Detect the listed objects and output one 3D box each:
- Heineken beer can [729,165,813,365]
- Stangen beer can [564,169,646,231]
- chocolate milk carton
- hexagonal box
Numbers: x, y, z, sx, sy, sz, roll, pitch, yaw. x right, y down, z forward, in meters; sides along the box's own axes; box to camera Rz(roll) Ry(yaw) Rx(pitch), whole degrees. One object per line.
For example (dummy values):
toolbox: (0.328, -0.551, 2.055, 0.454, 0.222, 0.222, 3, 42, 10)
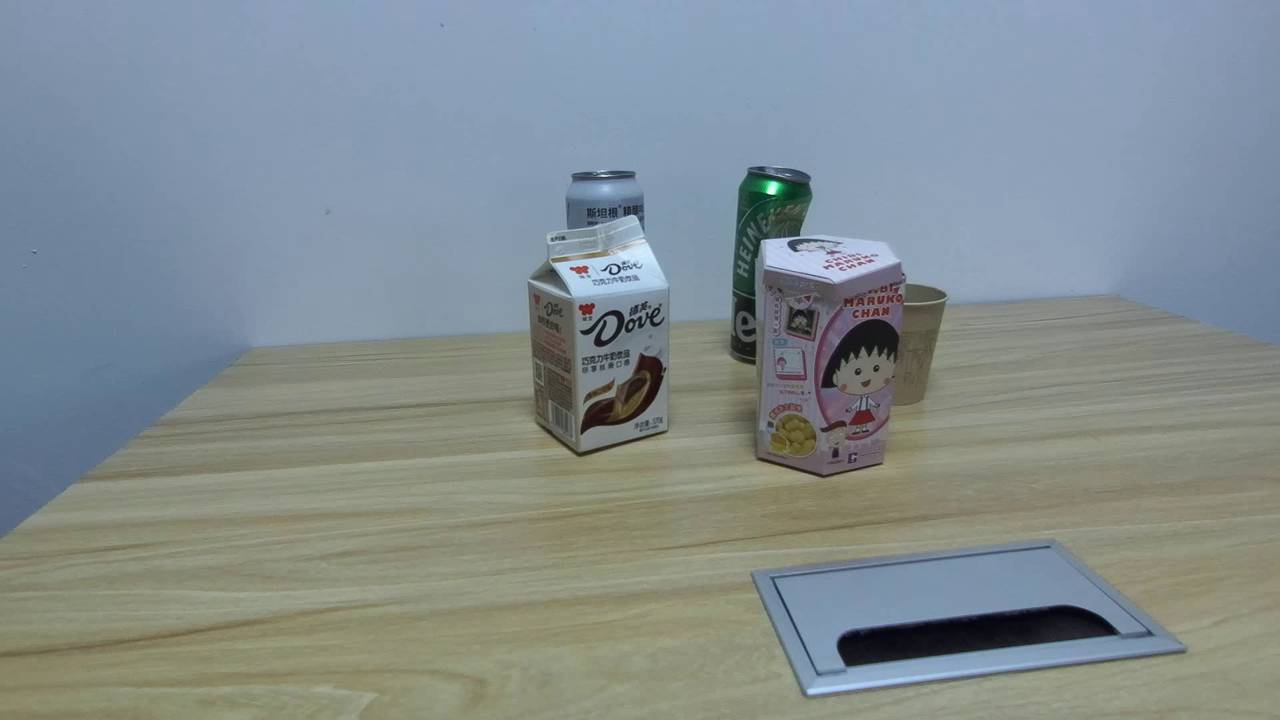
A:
Heineken beer can: (0.118, -0.081, 0.627, 0.068, 0.168, 0.069, -2, 18, -10)
Stangen beer can: (-0.029, -0.080, 0.622, 0.067, 0.171, 0.067, 0, 20, 0)
chocolate milk carton: (-0.028, -0.022, 0.489, 0.076, 0.148, 0.073, -11, 20, -30)
hexagonal box: (0.116, -0.005, 0.450, 0.092, 0.135, 0.084, -8, 20, -19)
